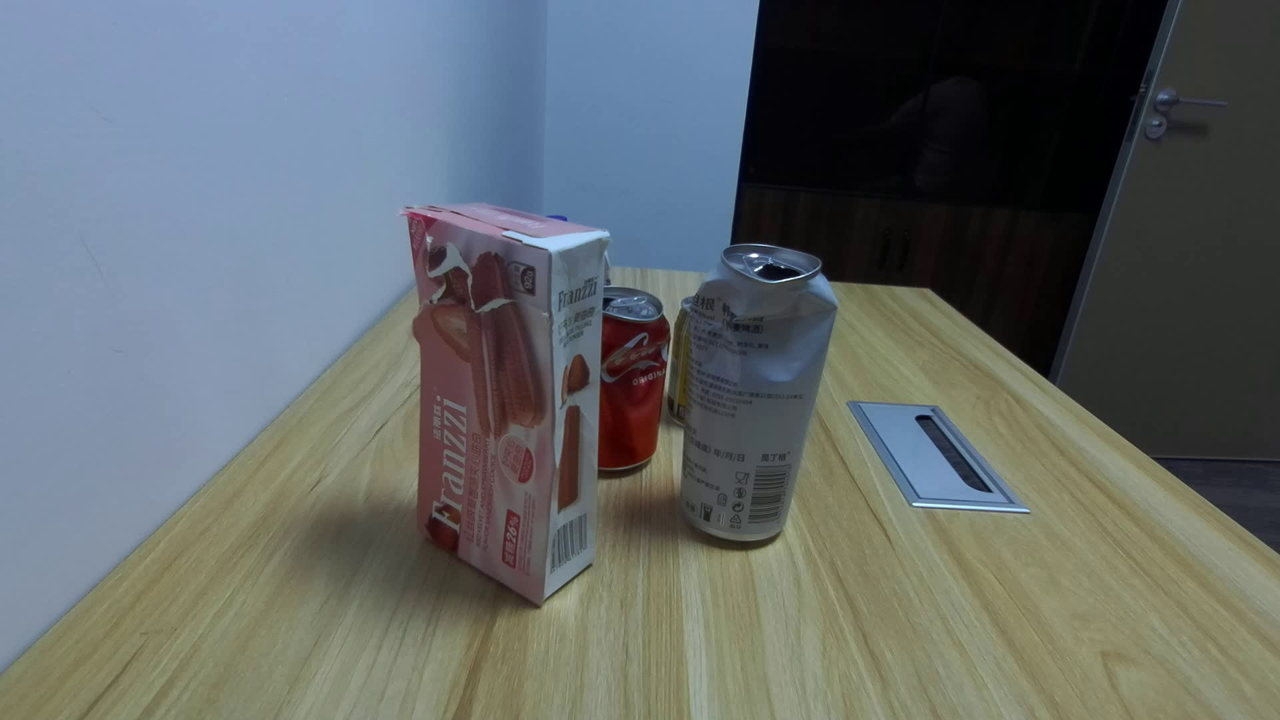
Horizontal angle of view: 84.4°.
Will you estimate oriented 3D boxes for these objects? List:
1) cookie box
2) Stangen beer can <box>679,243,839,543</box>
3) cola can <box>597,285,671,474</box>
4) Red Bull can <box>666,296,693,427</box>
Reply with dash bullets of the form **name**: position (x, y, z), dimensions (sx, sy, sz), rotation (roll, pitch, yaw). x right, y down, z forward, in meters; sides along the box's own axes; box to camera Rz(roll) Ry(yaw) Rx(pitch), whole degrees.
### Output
- **cookie box**: position (-0.070, 0.022, 0.359), dimensions (0.104, 0.186, 0.060), rotation (18, 24, 33)
- **Stangen beer can**: position (0.063, 0.023, 0.403), dimensions (0.066, 0.166, 0.065), rotation (-9, 27, -27)
- **cola can**: position (-0.017, 0.010, 0.485), dimensions (0.072, 0.117, 0.065), rotation (-15, 31, -37)
- **Red Bull can**: position (0.060, 0.002, 0.537), dimensions (0.067, 0.093, 0.067), rotation (1, 15, 0)
